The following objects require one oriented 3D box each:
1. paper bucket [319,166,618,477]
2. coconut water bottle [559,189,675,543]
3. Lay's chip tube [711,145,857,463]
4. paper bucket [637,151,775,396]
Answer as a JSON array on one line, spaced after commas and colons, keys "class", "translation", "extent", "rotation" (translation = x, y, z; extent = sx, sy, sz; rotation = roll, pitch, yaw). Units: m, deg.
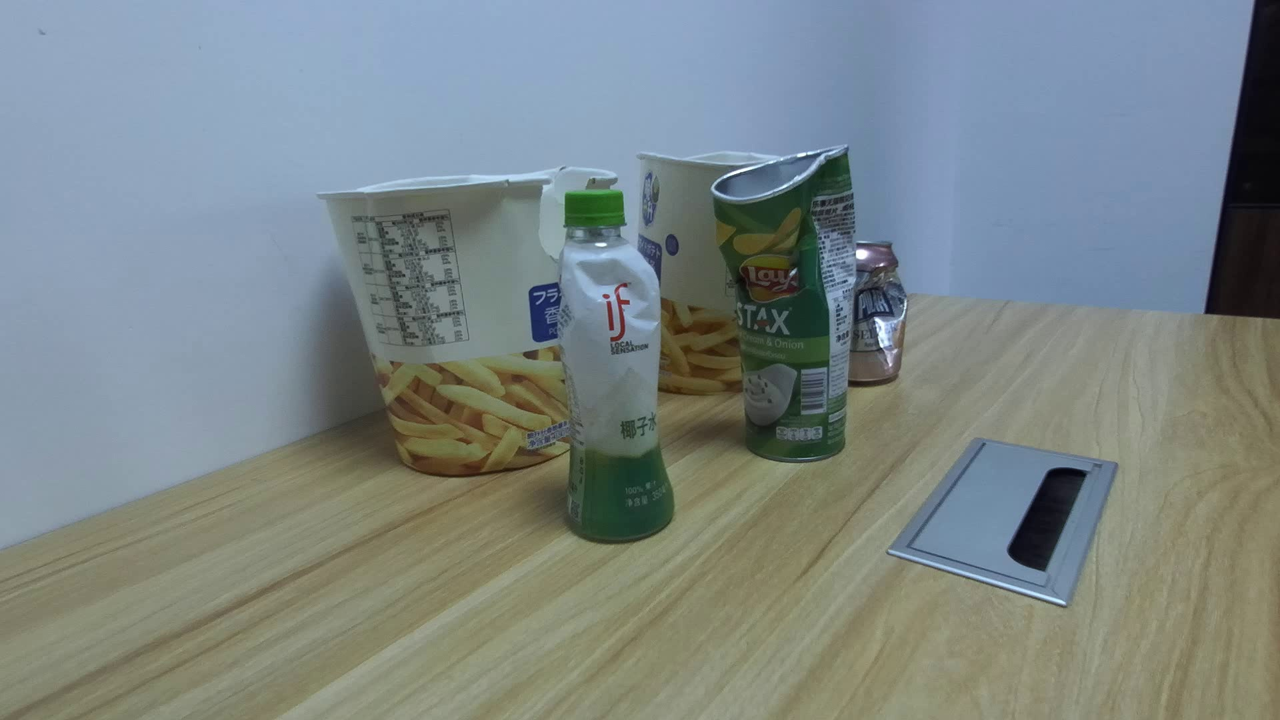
[{"class": "paper bucket", "translation": [-0.115, -0.034, 0.518], "extent": [0.203, 0.197, 0.145], "rotation": [-7, 19, -4]}, {"class": "coconut water bottle", "translation": [-0.016, 0.003, 0.388], "extent": [0.067, 0.187, 0.067], "rotation": [-4, 15, 1]}, {"class": "Lay's chip tube", "translation": [0.095, -0.030, 0.455], "extent": [0.078, 0.199, 0.071], "rotation": [3, 27, 28]}, {"class": "paper bucket", "translation": [0.059, -0.086, 0.632], "extent": [0.148, 0.199, 0.217], "rotation": [-15, 20, -34]}]
